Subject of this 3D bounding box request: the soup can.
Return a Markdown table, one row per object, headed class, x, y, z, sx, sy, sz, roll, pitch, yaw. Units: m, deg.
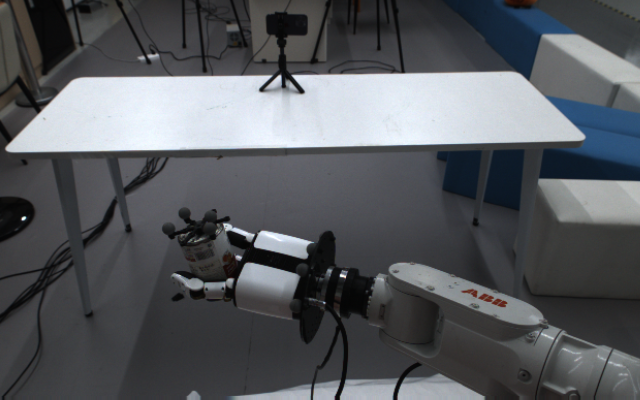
| class | x | y | z | sx | sy | sz | roll | pitch | yaw |
| --- | --- | --- | --- | --- | --- | --- | --- | --- | --- |
| soup can | -0.157 | 0.088 | 0.697 | 0.067 | 0.101 | 0.067 | -11 | 26 | 5 |
